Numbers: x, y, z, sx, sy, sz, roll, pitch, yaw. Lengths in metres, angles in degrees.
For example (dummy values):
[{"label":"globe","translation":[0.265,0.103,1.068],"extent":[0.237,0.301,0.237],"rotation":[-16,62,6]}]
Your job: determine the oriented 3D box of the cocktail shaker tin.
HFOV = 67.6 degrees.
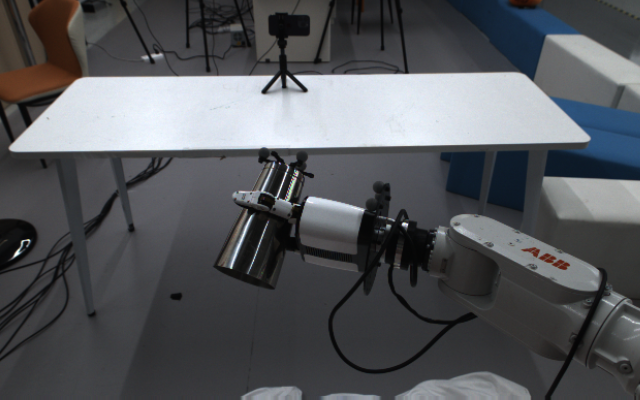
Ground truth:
[{"label":"cocktail shaker tin","translation":[-0.082,0.033,0.703],"extent":[0.093,0.093,0.170],"rotation":[14,70,16]}]
